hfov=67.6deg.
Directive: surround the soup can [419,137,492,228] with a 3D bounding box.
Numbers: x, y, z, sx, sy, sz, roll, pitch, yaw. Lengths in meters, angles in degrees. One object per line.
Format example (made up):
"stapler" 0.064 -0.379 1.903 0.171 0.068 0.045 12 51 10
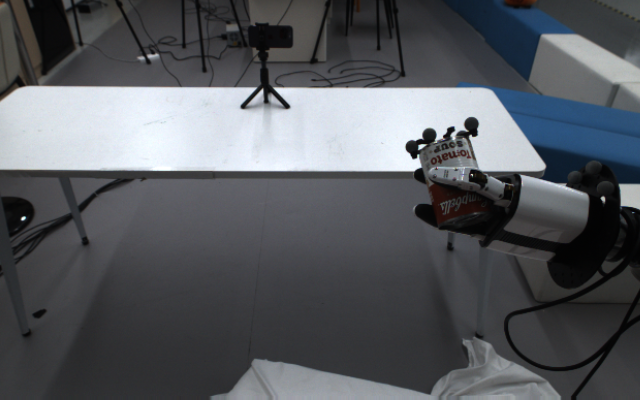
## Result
"soup can" 0.170 -0.022 0.607 0.067 0.067 0.101 -8 74 -14
